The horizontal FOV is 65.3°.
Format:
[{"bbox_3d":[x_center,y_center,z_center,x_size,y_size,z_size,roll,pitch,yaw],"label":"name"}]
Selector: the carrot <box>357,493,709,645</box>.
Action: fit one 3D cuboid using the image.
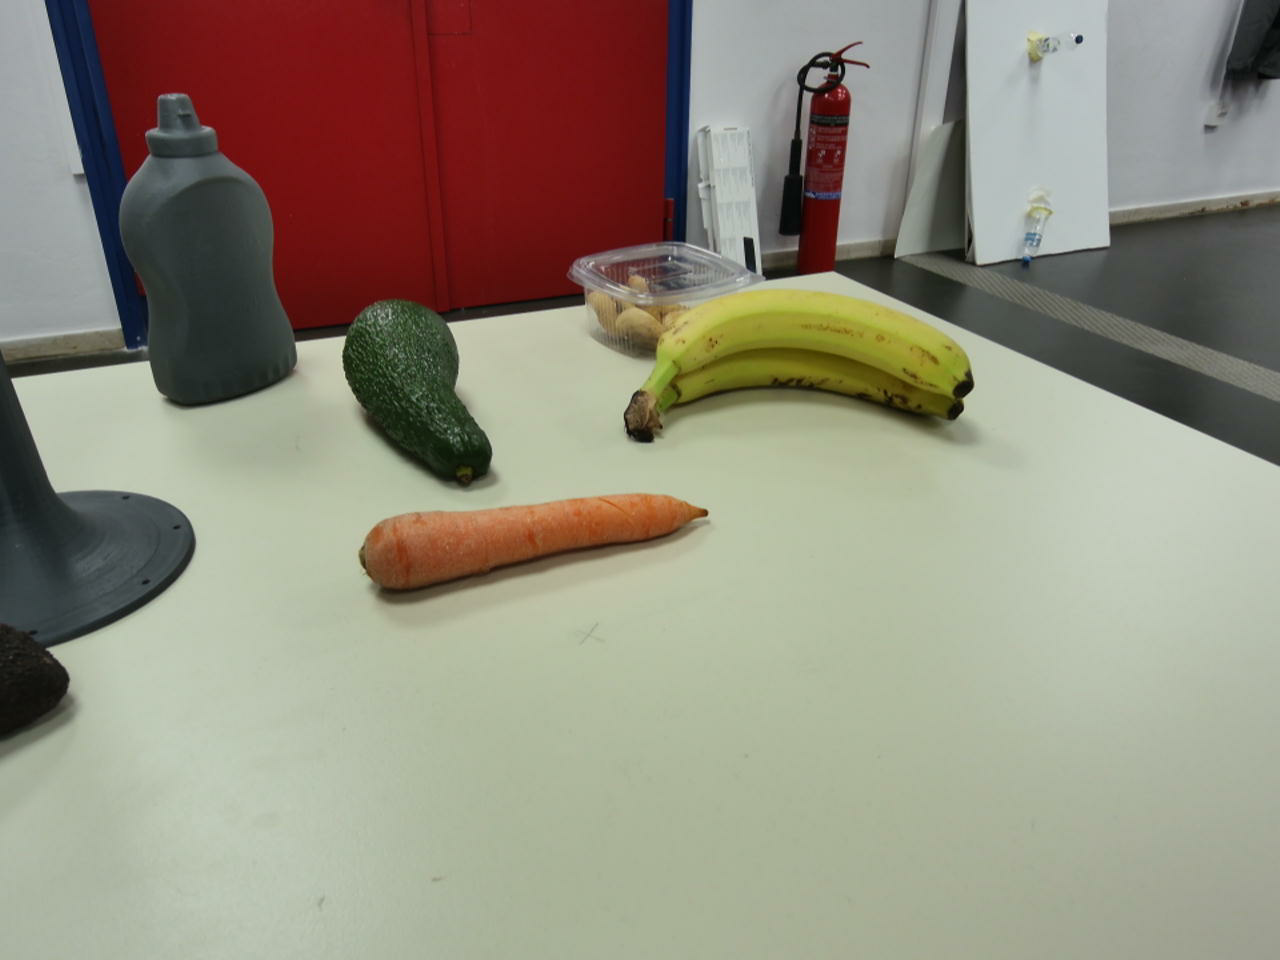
[{"bbox_3d":[-0.048,0.023,0.539,0.196,0.041,0.039,-12,28,-22],"label":"carrot"}]
